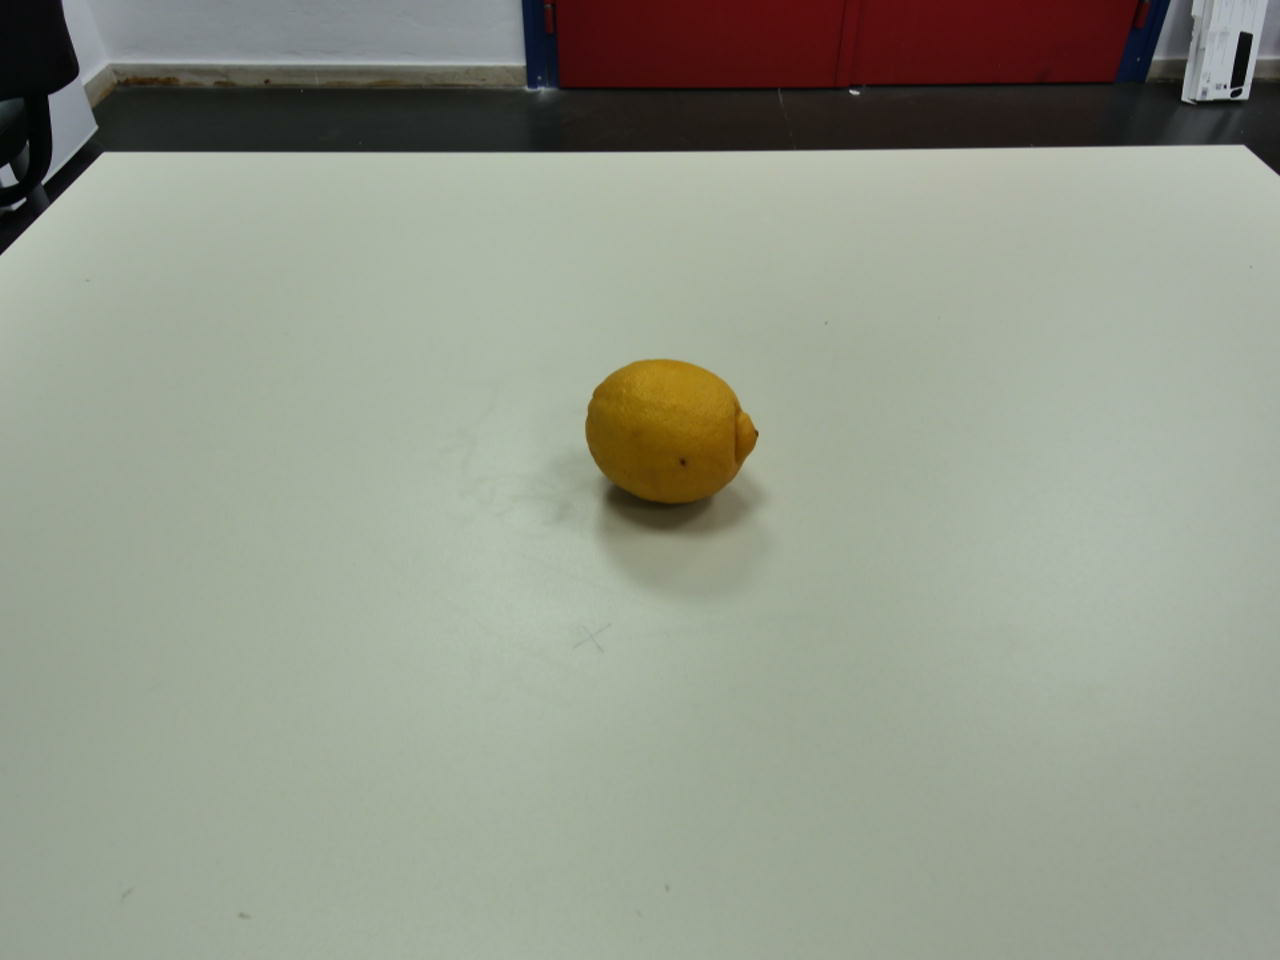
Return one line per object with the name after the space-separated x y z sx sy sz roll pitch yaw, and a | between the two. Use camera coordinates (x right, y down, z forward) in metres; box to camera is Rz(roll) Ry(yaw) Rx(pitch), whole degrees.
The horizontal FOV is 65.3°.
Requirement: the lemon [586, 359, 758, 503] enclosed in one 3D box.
0.012 -0.020 0.419 0.067 0.059 0.060 29 47 32 | lemon
